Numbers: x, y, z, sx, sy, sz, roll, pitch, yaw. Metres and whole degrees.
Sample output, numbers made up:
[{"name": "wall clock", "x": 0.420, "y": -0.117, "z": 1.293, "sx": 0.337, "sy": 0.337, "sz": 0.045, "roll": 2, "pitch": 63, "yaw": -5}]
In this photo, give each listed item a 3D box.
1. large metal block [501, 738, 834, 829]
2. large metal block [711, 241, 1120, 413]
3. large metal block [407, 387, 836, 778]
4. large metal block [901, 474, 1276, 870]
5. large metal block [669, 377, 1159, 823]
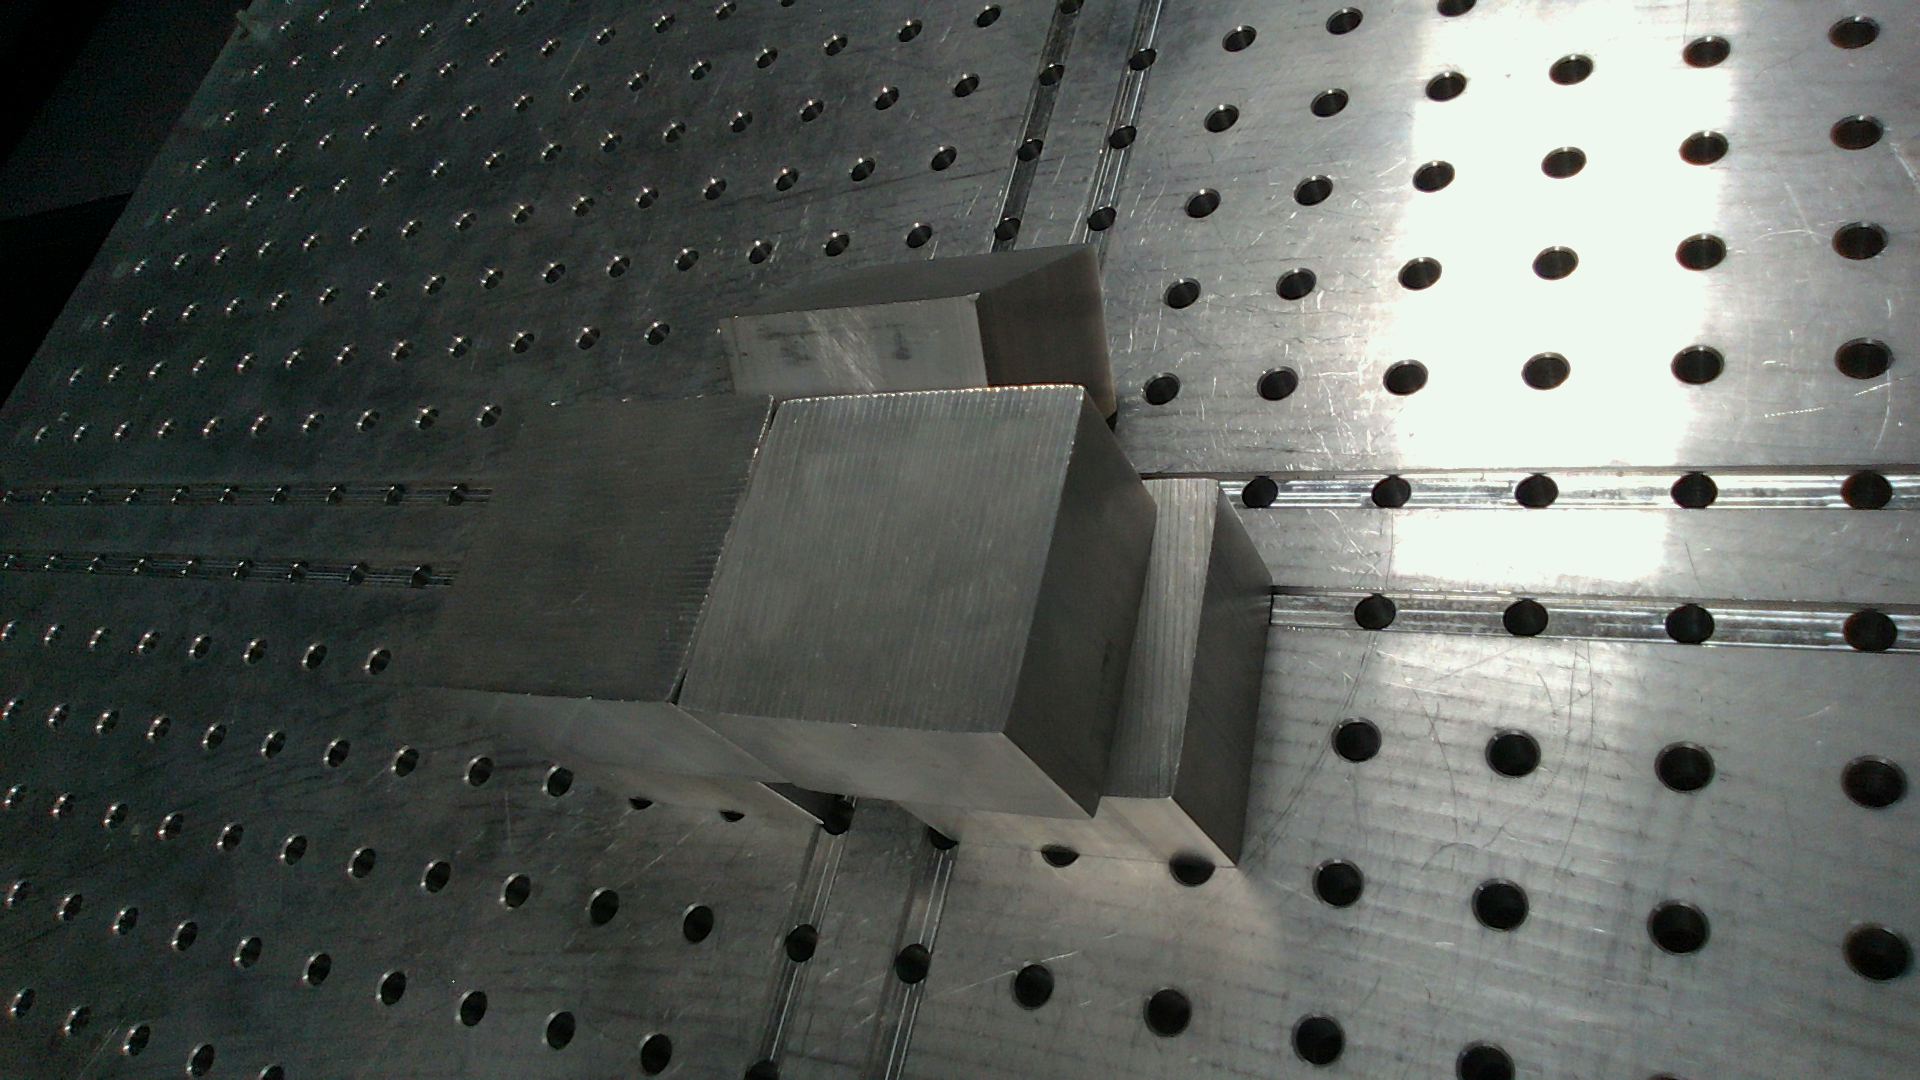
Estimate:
[{"name": "large metal block", "x": -0.073, "y": 0.033, "z": 0.401, "sx": 0.080, "sy": 0.050, "sz": 0.080, "roll": 1, "pitch": 62, "yaw": 29}, {"name": "large metal block", "x": -0.009, "y": -0.049, "z": 0.390, "sx": 0.080, "sy": 0.050, "sz": 0.080, "roll": 0, "pitch": 20, "yaw": 29}, {"name": "large metal block", "x": -0.078, "y": 0.011, "z": 0.348, "sx": 0.080, "sy": 0.050, "sz": 0.080, "roll": 0, "pitch": 61, "yaw": 28}, {"name": "large metal block", "x": 0.029, "y": 0.032, "z": 0.344, "sx": 0.080, "sy": 0.050, "sz": 0.080, "roll": -1, "pitch": 61, "yaw": 28}, {"name": "large metal block", "x": -0.007, "y": 0.013, "z": 0.309, "sx": 0.080, "sy": 0.050, "sz": 0.080, "roll": 0, "pitch": 61, "yaw": 28}]
